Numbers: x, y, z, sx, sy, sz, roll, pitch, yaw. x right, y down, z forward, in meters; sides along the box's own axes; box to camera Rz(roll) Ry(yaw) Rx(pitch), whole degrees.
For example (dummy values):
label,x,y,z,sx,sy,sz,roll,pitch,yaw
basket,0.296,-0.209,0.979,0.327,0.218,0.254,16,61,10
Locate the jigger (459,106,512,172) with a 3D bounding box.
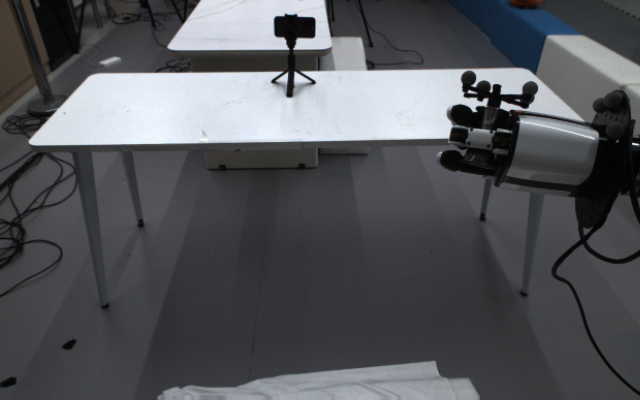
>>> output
label,x,y,z,sx,sy,sz,roll,pitch,yaw
jigger,0.203,-0.076,0.589,0.043,0.071,0.043,14,1,0
